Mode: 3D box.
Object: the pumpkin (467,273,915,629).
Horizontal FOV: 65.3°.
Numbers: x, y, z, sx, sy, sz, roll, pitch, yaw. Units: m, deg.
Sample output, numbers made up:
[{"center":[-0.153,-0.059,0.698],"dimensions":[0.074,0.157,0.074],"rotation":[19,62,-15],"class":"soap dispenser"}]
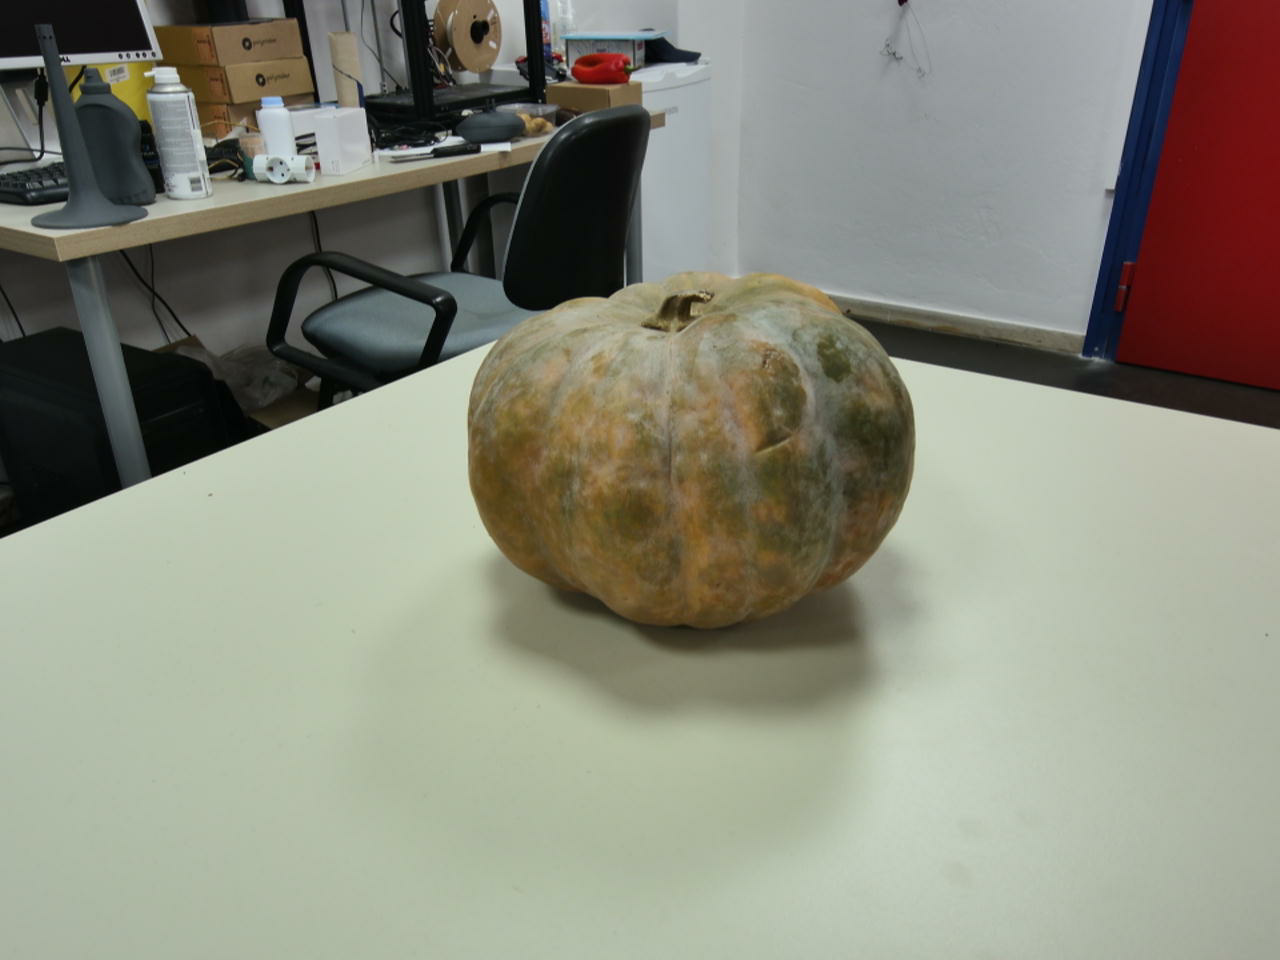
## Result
[{"center":[0.025,-0.025,0.550],"dimensions":[0.252,0.169,0.251],"rotation":[0,25,0],"class":"pumpkin"}]
